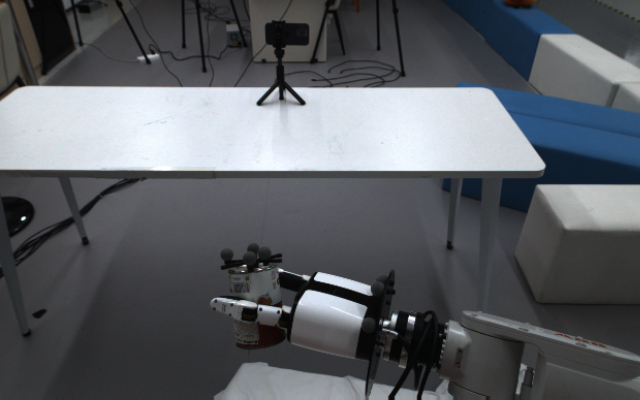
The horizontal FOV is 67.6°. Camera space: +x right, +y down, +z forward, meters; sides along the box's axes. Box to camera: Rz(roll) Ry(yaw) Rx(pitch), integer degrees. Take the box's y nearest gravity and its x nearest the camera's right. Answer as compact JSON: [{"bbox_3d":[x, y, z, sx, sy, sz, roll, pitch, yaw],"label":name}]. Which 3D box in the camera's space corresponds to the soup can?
[{"bbox_3d":[-0.082,0.137,0.639,0.067,0.101,0.067,-7,3,0],"label":"soup can"}]
